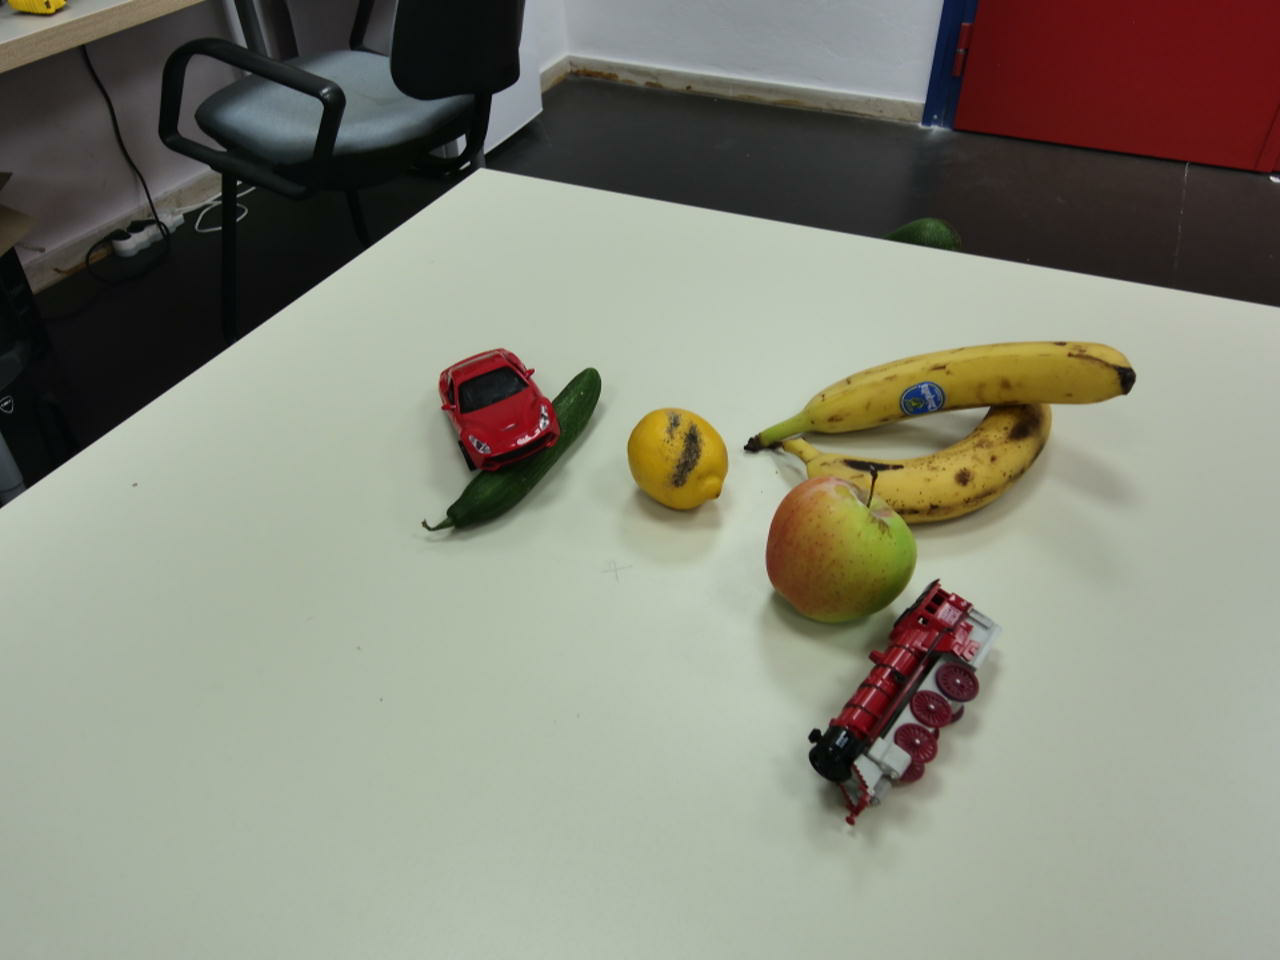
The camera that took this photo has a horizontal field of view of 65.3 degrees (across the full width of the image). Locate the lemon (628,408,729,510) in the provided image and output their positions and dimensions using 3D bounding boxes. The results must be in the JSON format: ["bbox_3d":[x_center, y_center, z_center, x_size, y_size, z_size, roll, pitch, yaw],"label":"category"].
[{"bbox_3d":[0.023,-0.013,0.593,0.061,0.056,0.058,10,40,13],"label":"lemon"}]
